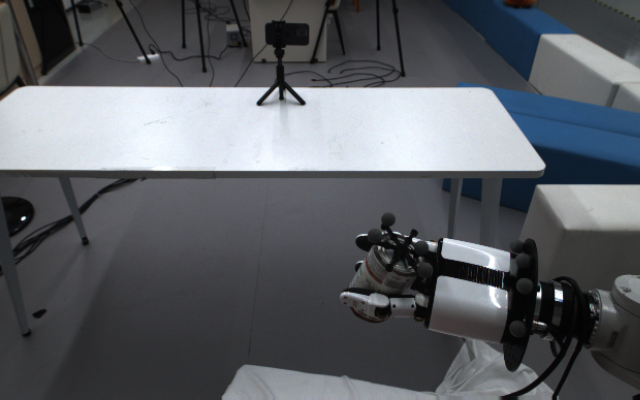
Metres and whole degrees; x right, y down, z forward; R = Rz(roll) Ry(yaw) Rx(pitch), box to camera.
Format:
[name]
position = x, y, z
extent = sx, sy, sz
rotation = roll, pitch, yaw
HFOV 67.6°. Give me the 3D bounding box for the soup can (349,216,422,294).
[soup can]
position = 0.083, 0.099, 0.614
extent = 0.067, 0.101, 0.067
rotation = 14, 39, -12
